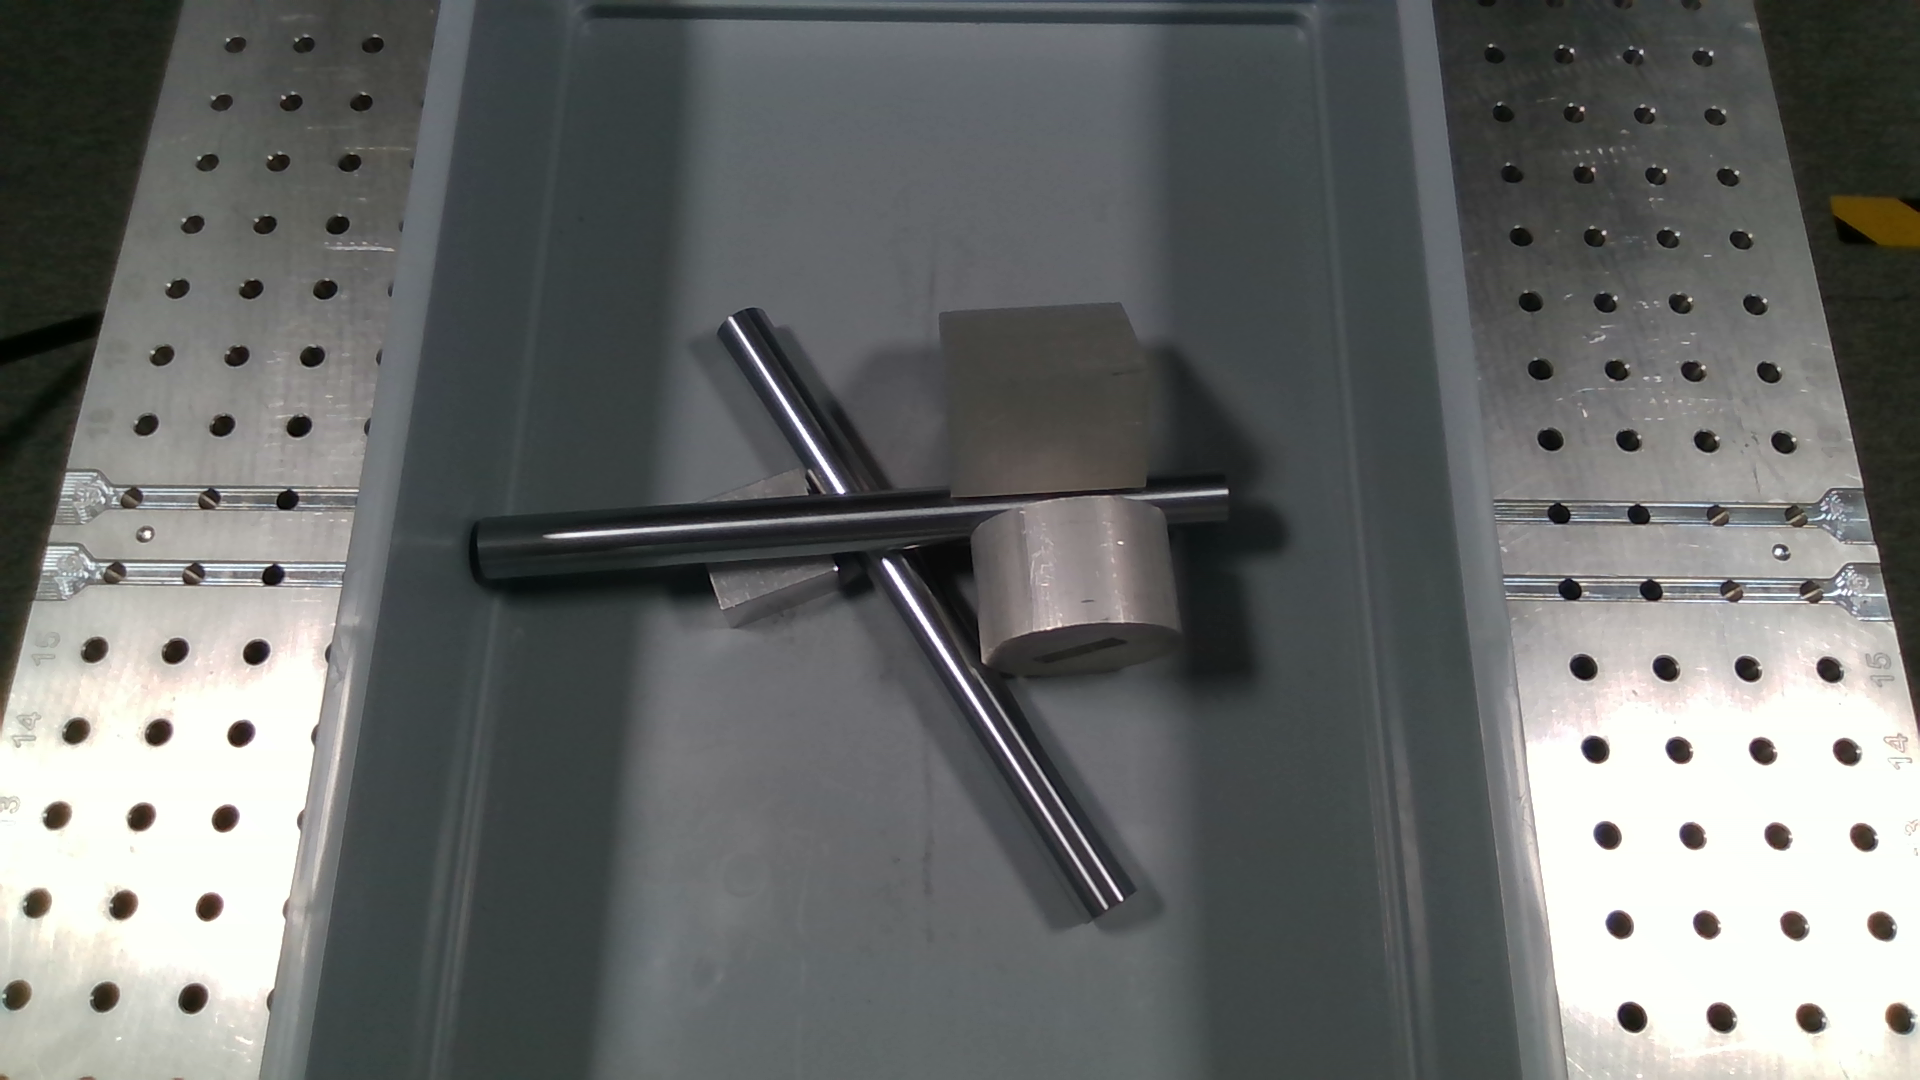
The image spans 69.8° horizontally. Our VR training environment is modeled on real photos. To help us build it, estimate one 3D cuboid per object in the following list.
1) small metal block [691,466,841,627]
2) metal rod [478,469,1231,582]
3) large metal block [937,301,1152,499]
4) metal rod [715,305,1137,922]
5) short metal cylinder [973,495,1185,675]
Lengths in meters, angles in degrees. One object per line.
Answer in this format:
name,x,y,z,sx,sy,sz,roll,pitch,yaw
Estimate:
small metal block,-0.084,0.003,0.586,0.050,0.025,0.050,-20,72,-7
metal rod,-0.041,-0.006,0.561,0.300,0.025,0.025,-4,70,-3
large metal block,0.033,-0.060,0.575,0.080,0.050,0.080,-3,30,-1
metal rod,-0.020,0.022,0.578,0.025,0.025,0.299,-30,73,-10
short metal cylinder,0.046,0.020,0.550,0.080,0.080,0.050,-4,71,-2
